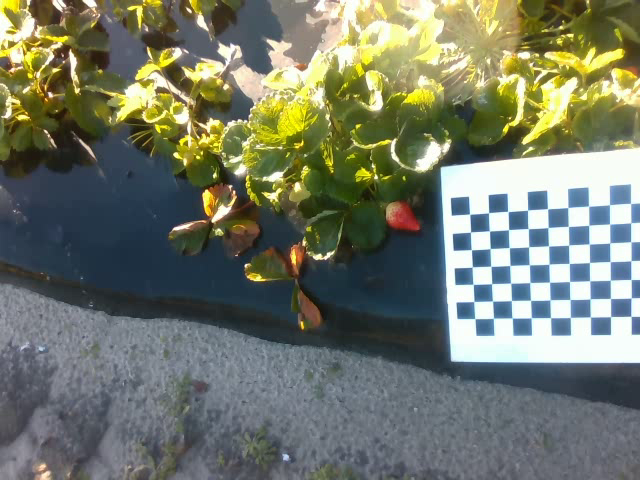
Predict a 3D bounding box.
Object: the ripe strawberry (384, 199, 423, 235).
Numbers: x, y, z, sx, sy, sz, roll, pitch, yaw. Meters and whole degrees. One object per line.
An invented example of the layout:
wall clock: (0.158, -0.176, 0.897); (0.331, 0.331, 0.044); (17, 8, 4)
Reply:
ripe strawberry: (0.122, -0.029, 0.886); (0.065, 0.040, 0.040); (38, 14, 6)
